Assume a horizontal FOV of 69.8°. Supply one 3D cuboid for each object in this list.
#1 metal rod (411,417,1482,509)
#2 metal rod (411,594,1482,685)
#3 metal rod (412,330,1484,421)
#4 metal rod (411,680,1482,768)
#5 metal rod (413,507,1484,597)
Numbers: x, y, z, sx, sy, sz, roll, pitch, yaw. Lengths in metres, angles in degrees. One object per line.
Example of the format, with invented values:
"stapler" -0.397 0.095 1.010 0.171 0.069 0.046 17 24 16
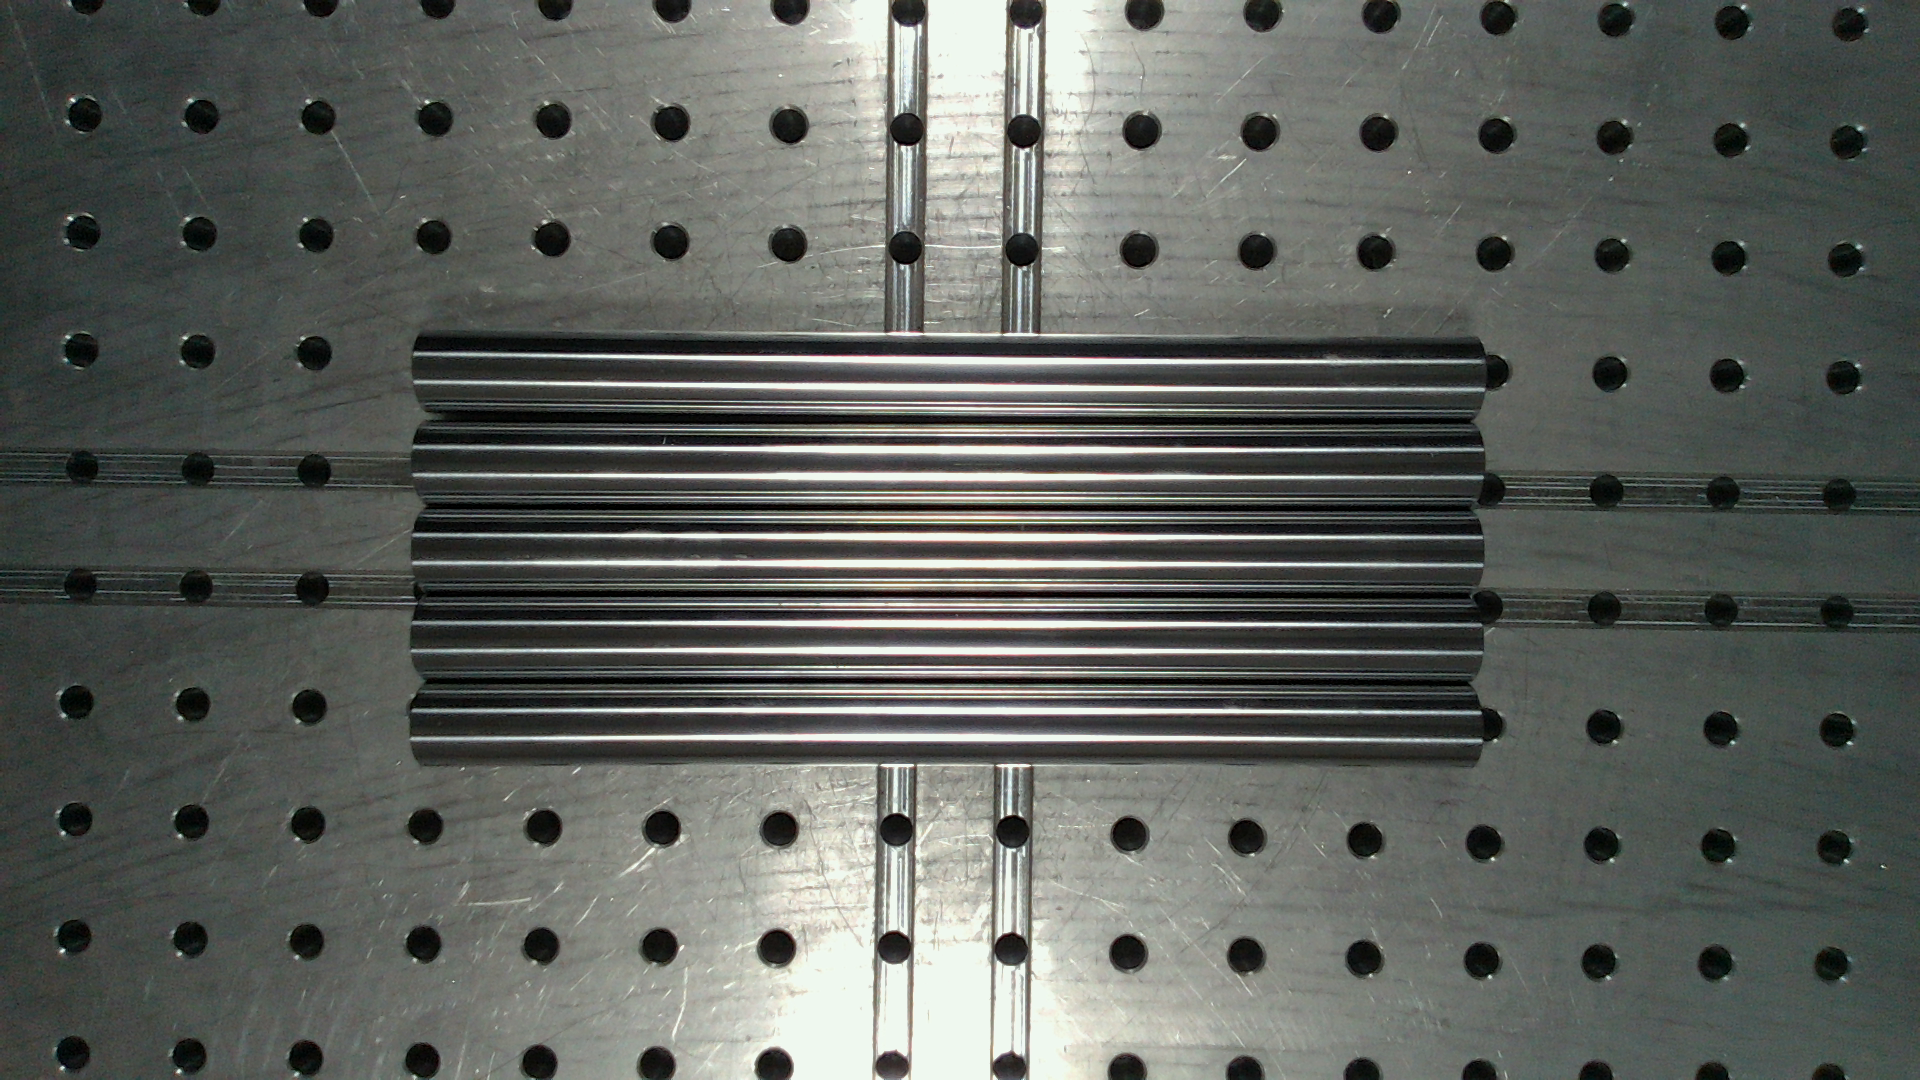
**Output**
"metal rod" -0.003 -0.022 0.398 0.300 0.025 0.025 0 90 0
"metal rod" -0.004 0.029 0.397 0.300 0.025 0.025 0 90 0
"metal rod" -0.003 -0.048 0.397 0.300 0.025 0.025 0 90 0
"metal rod" -0.004 0.053 0.398 0.300 0.025 0.025 0 90 0
"metal rod" -0.003 0.004 0.397 0.300 0.025 0.025 0 90 0
